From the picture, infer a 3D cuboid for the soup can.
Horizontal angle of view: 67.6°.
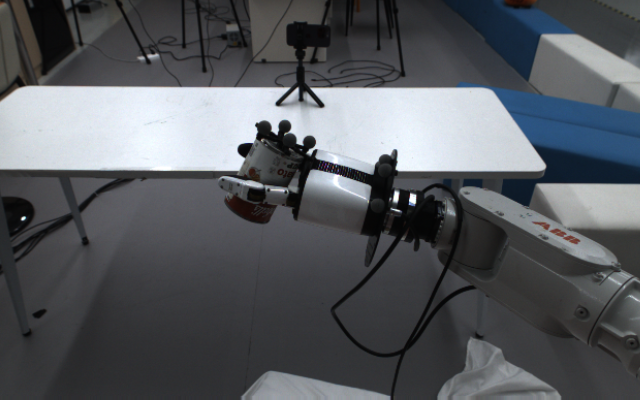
[{"bbox_3d":[-0.073,-0.028,0.634,0.067,0.101,0.067,28,18,-10],"label":"soup can"}]
